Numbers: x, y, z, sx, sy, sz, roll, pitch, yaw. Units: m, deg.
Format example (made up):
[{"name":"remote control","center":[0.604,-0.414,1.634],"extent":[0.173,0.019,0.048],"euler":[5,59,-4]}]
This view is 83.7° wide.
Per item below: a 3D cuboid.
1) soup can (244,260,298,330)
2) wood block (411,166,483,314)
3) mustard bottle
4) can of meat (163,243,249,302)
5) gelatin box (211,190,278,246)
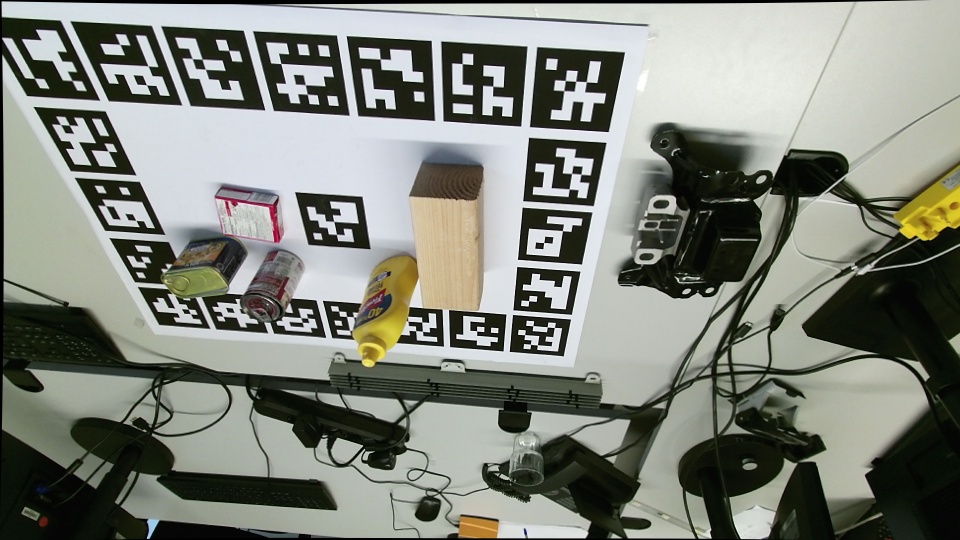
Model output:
[{"name":"soup can","center":[-0.341,0.039,0.859],"extent":[0.068,0.101,0.068],"euler":[2,129,3]},{"name":"wood block","center":[-0.046,-0.038,0.783],"extent":[0.091,0.089,0.206],"euler":[5,135,4]},{"name":"mustard bottle","center":[-0.149,0.066,0.821],"extent":[0.096,0.190,0.058],"euler":[-16,127,20]},{"name":"can of meat","center":[-0.437,0.004,0.863],"extent":[0.102,0.083,0.058],"euler":[-6,129,14]},{"name":"gelatin box","center":[-0.357,-0.077,0.815],"extent":[0.090,0.030,0.073],"euler":[10,129,-6]}]
